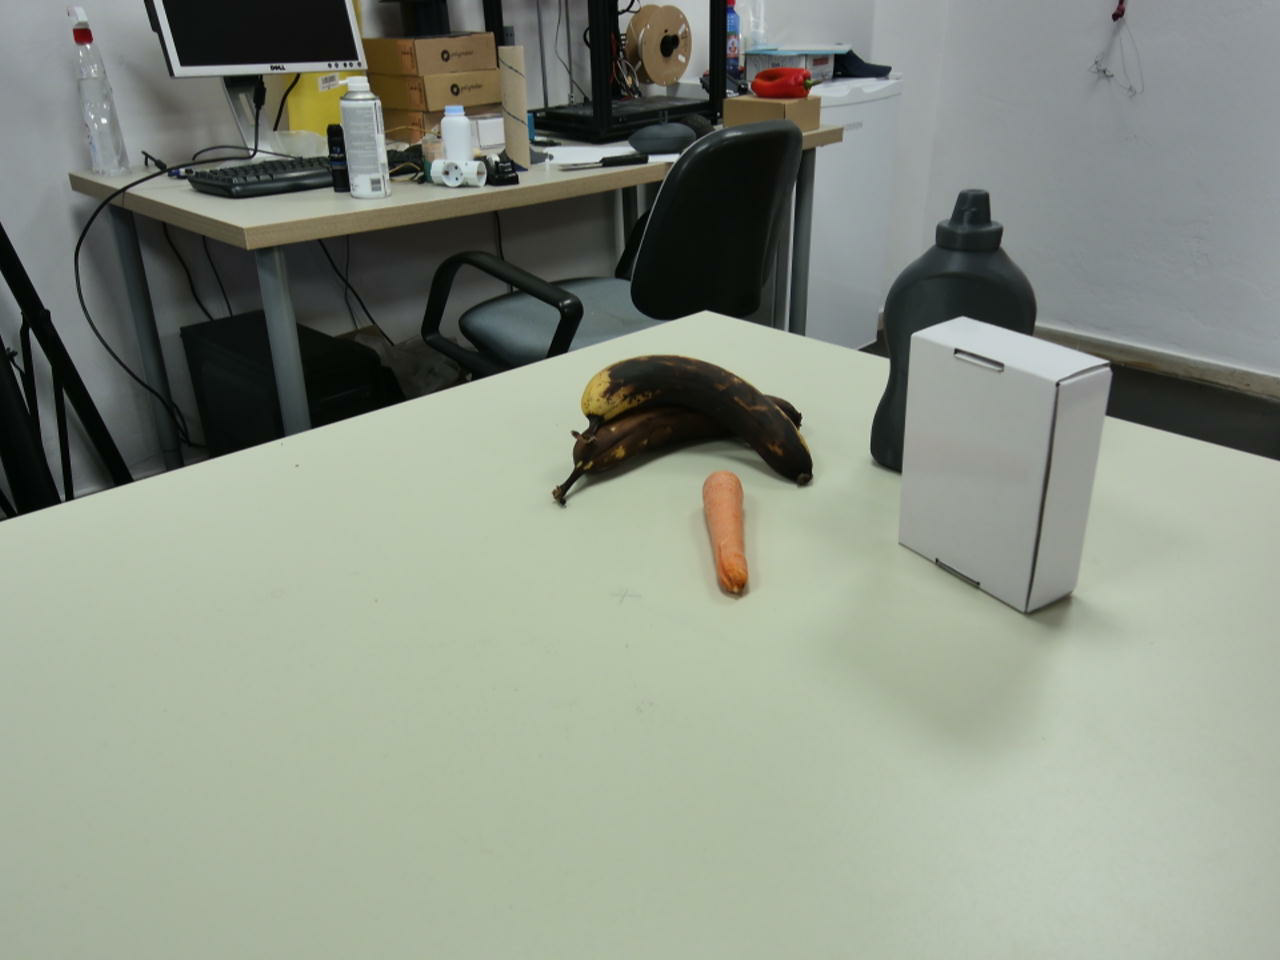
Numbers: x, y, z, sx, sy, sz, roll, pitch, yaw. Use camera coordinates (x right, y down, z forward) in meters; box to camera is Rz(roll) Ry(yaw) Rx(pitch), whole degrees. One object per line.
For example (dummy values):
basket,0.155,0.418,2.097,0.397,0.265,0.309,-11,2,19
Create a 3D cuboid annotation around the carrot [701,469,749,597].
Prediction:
carrot,0.055,0.029,0.644,0.030,0.032,0.136,1,24,2
